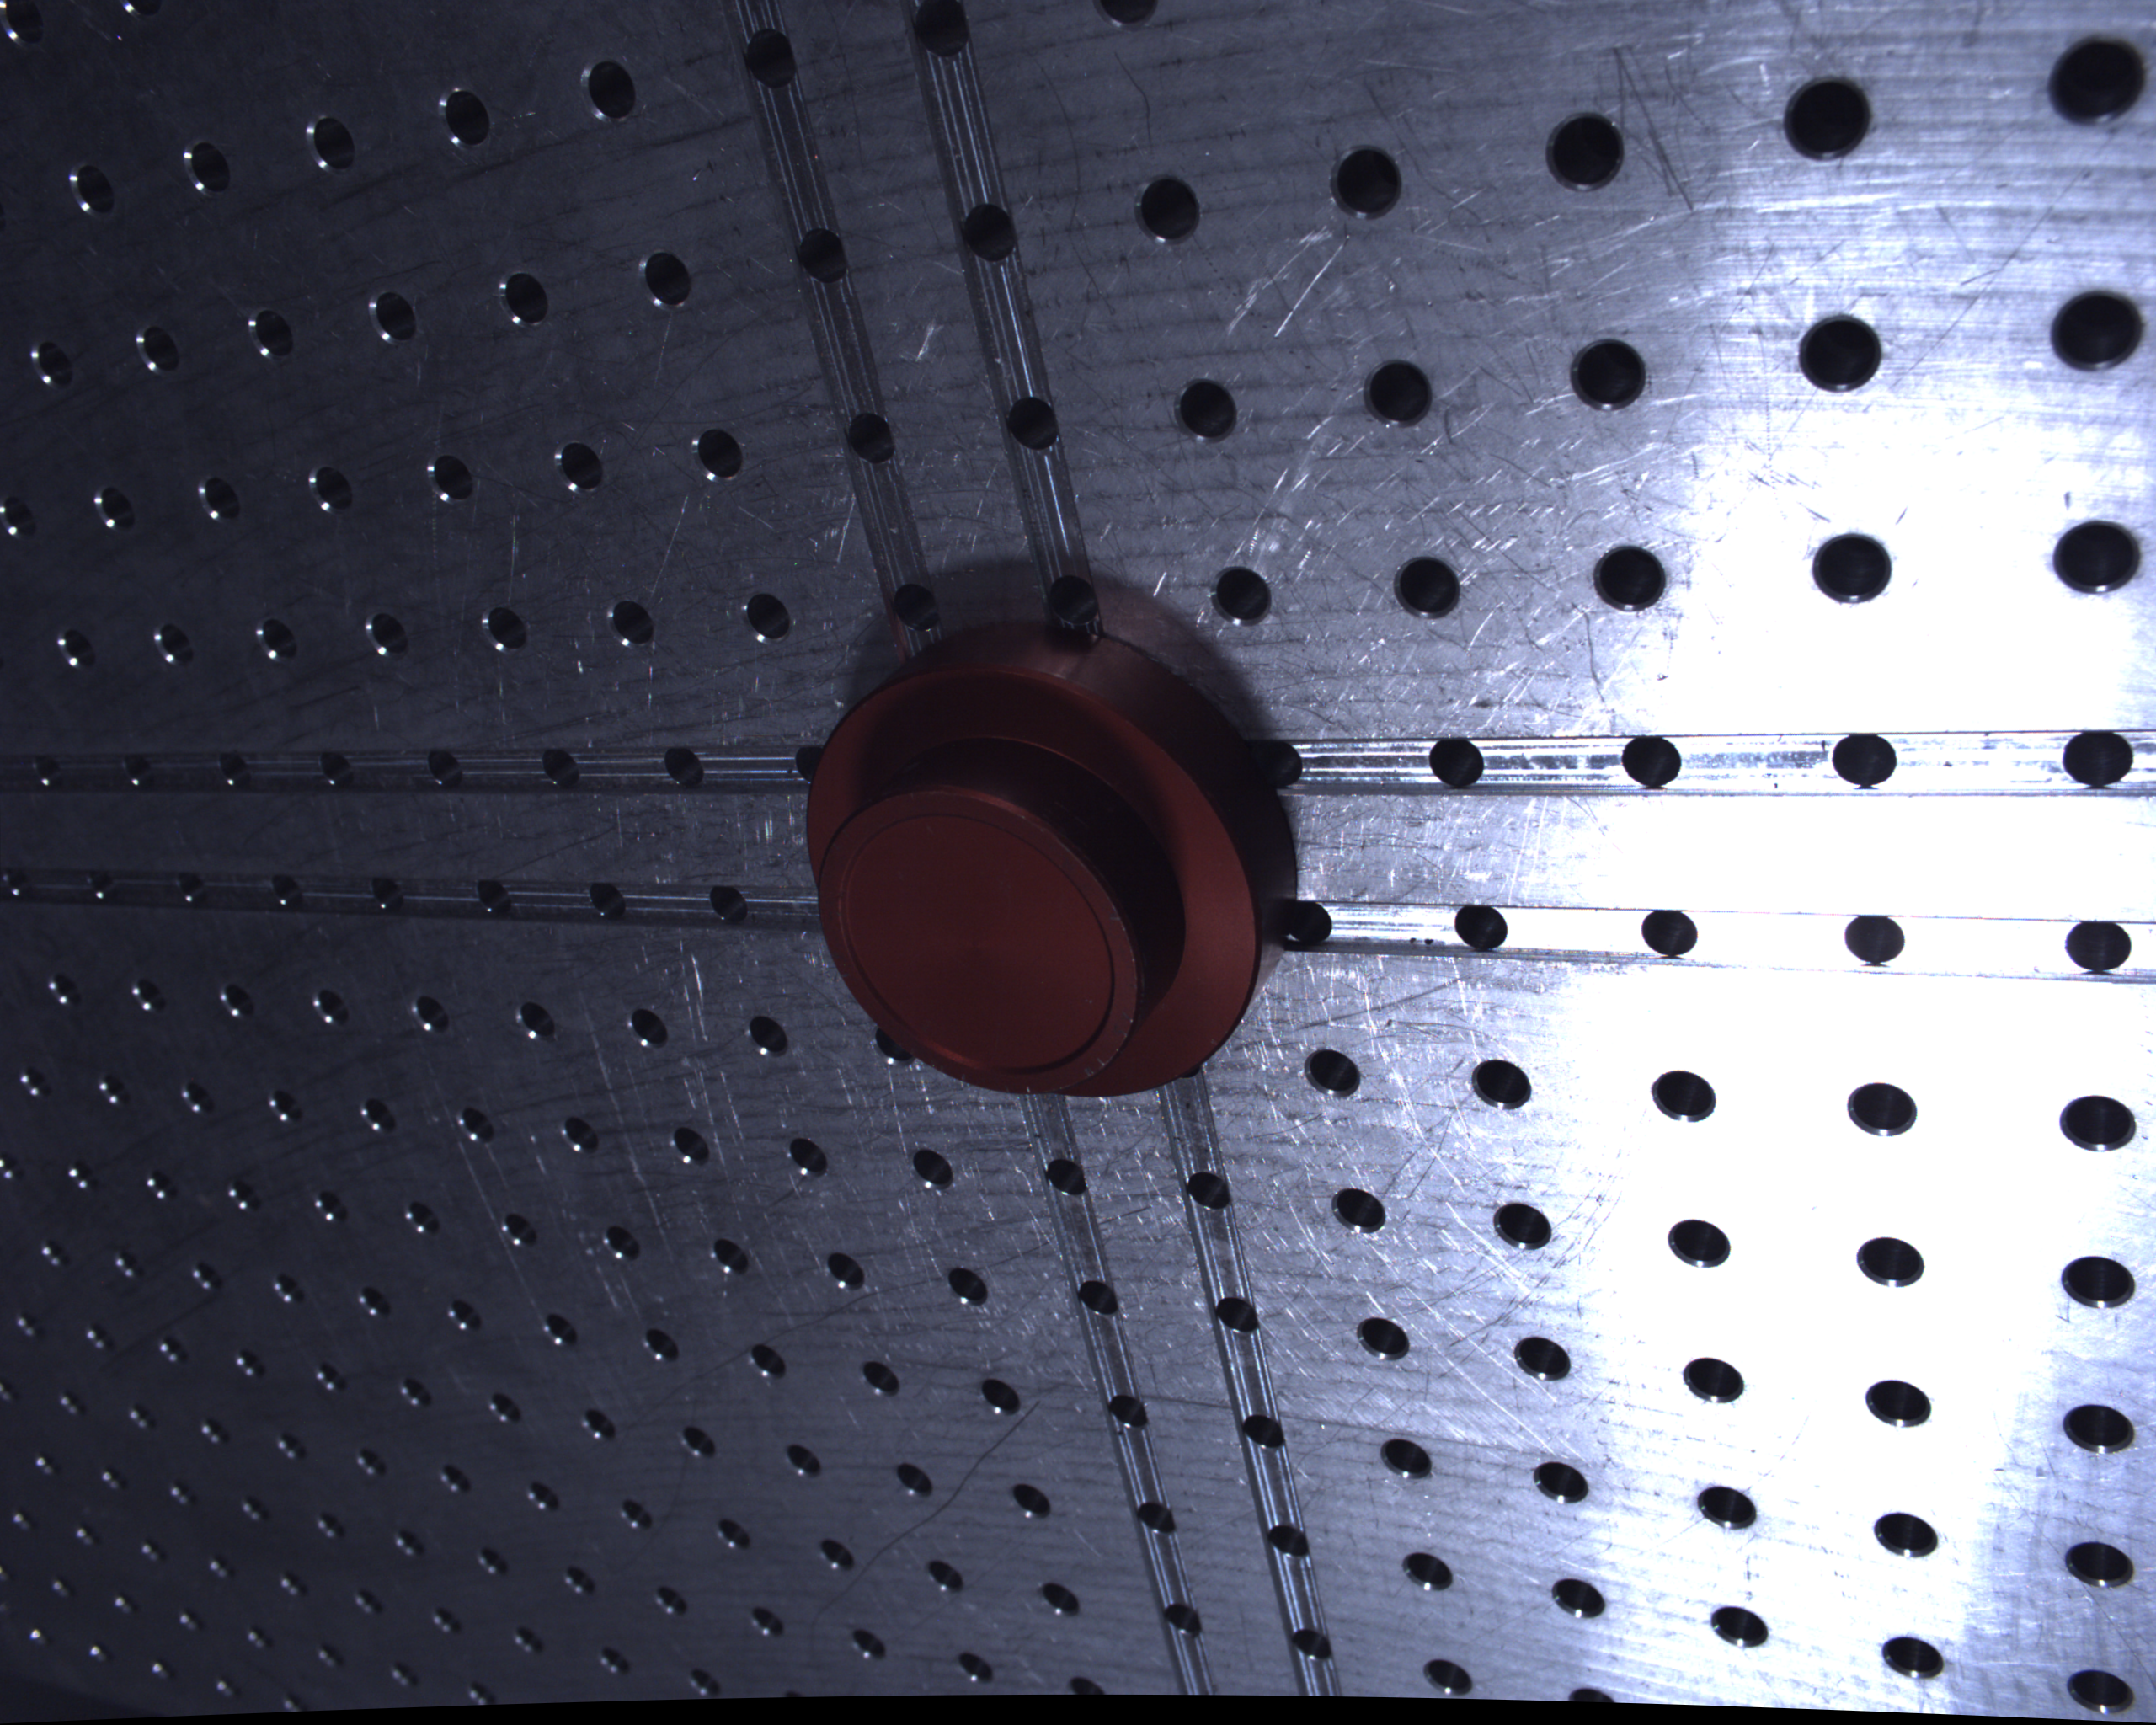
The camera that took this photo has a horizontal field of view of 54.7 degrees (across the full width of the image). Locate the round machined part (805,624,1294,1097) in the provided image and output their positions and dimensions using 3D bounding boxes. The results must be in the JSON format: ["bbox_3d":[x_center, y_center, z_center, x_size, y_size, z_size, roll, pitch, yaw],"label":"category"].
[{"bbox_3d":[-0.011,0.006,0.408,0.098,0.042,0.097,13,124,20],"label":"round machined part"}]
